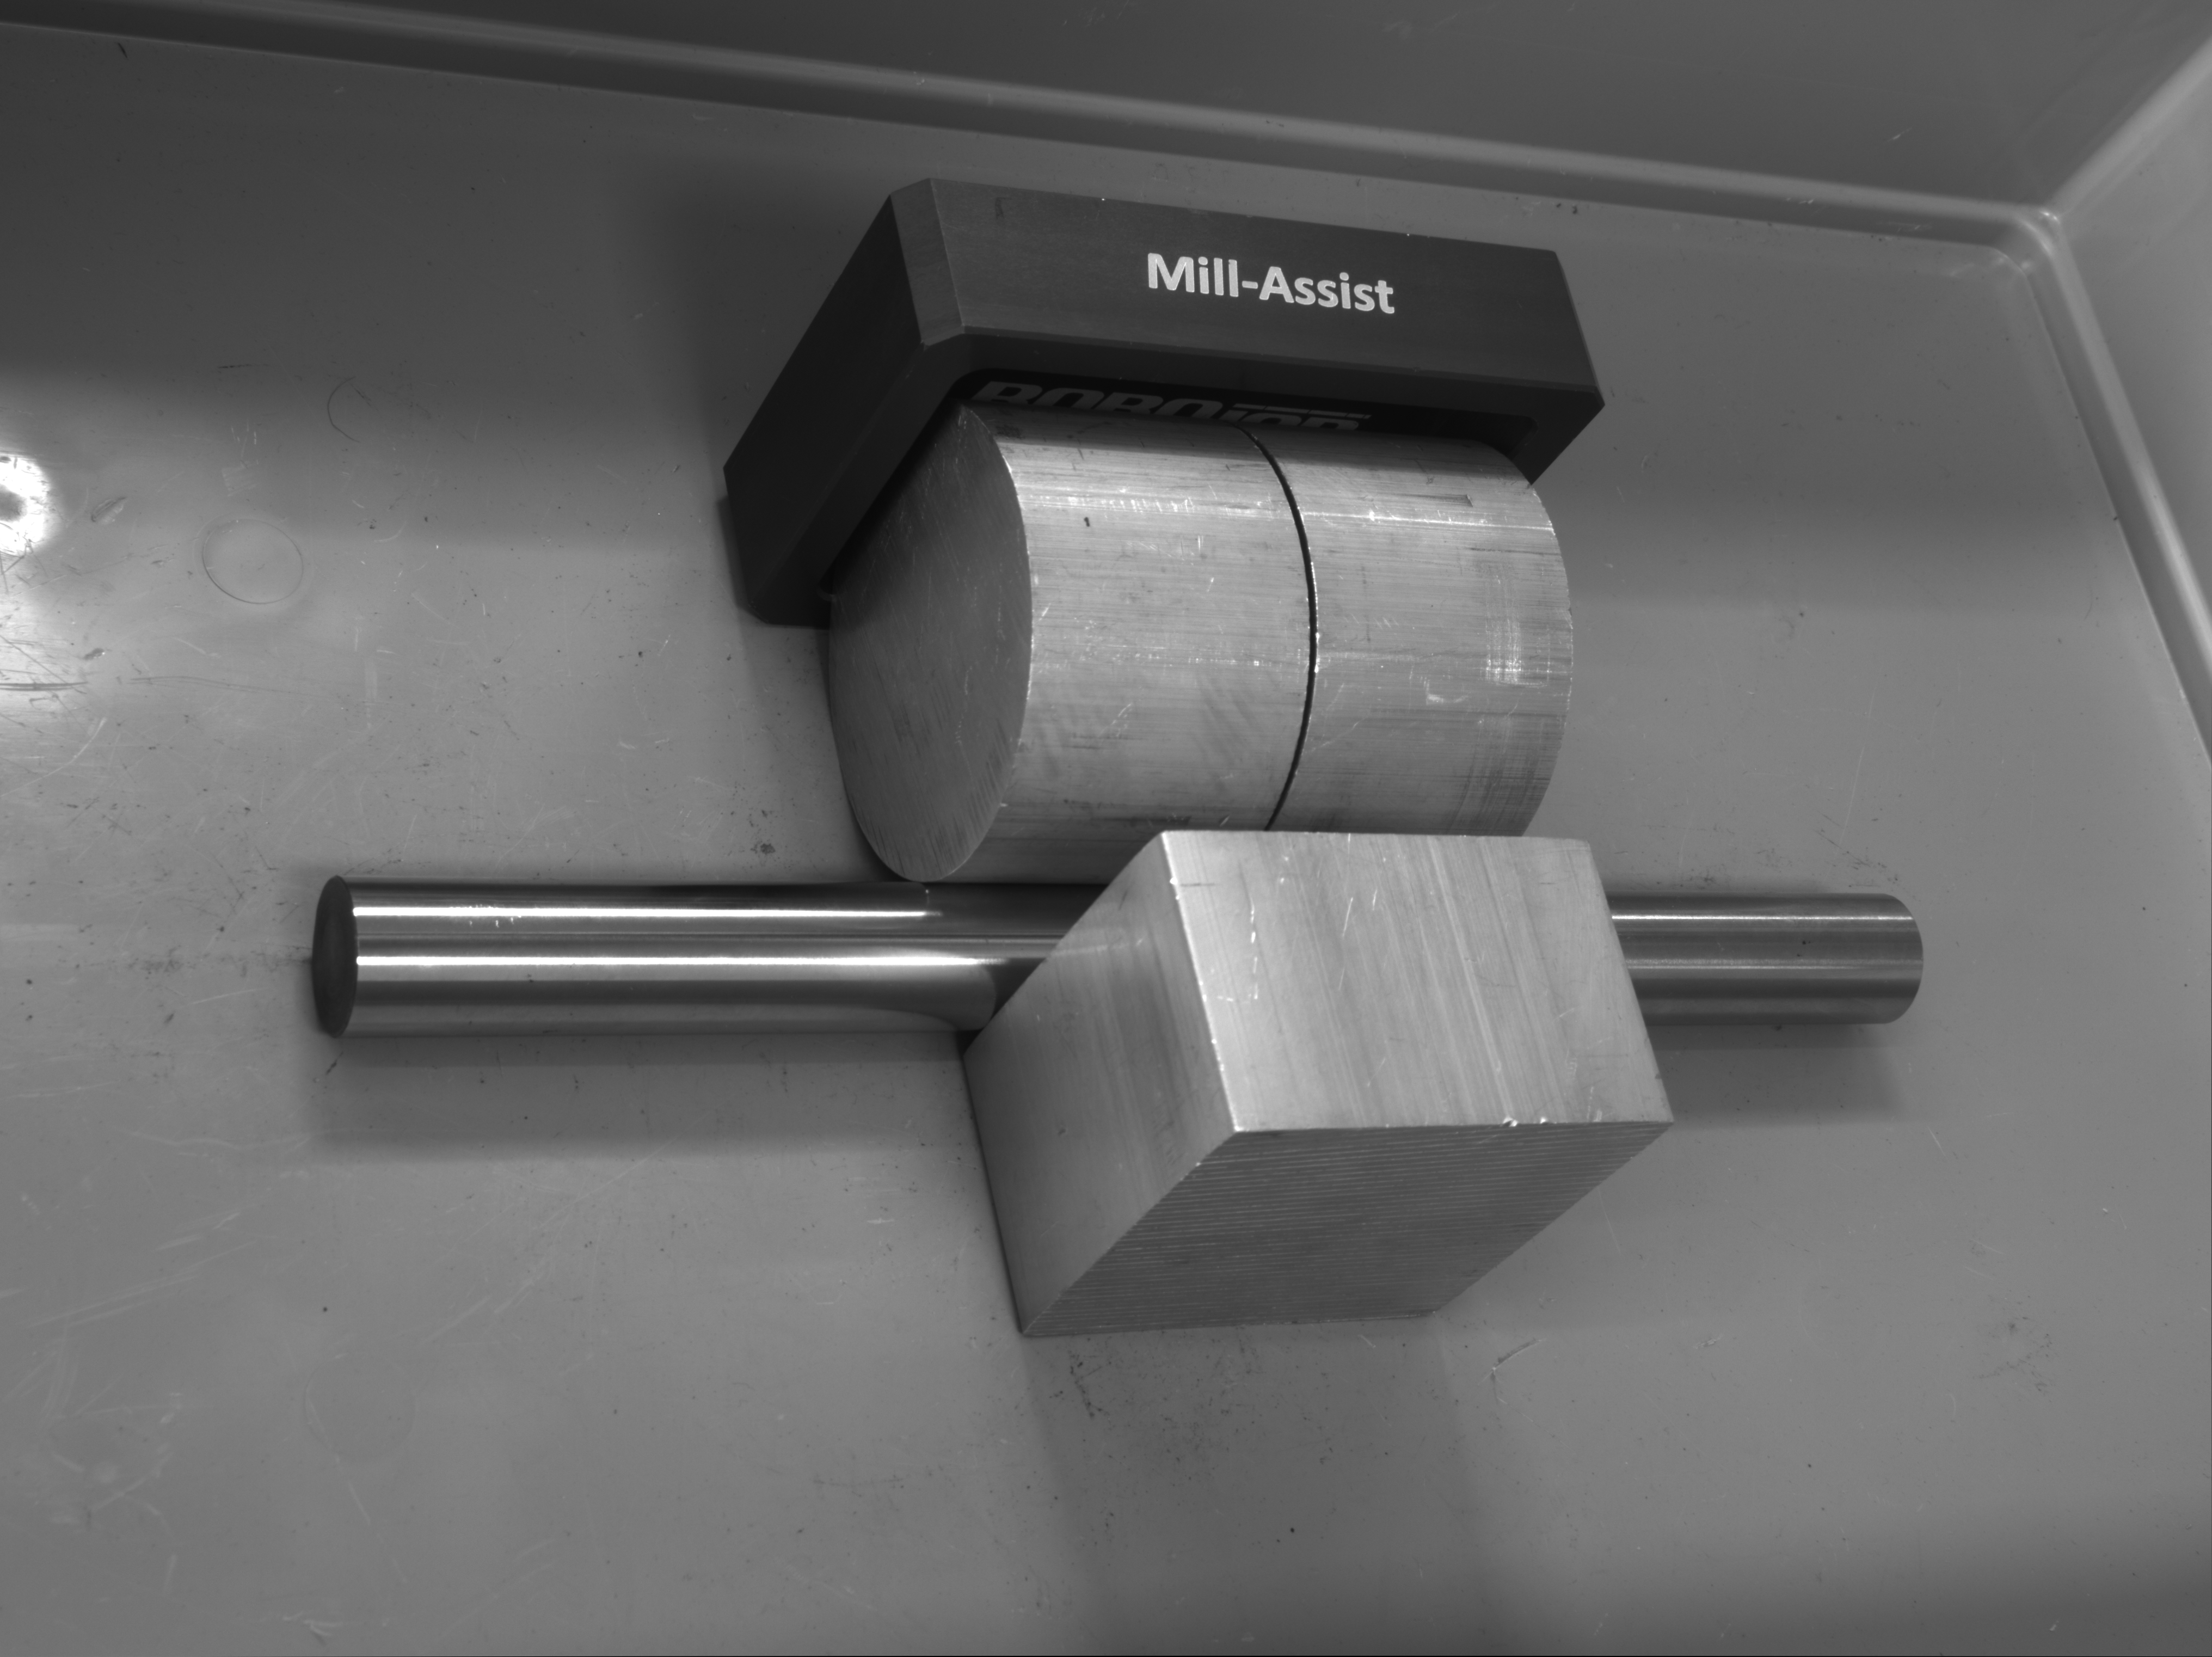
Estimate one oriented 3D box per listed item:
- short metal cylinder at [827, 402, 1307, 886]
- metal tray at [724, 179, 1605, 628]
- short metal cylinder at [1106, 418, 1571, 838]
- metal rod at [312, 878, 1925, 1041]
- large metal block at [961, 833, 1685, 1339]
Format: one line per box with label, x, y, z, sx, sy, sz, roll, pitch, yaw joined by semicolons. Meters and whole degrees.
short metal cylinder;-0.008;-0.030;0.618;0.050;0.080;0.080;1;61;-28
metal tray;0.009;-0.069;0.643;0.130;0.090;0.030;1;61;-27
short metal cylinder;0.038;-0.030;0.642;0.050;0.080;0.080;2;61;-27
metal rod;0.015;0.022;0.632;0.301;0.025;0.025;1;61;-28
large metal block;0.033;0.042;0.594;0.080;0.080;0.050;1;61;-28
